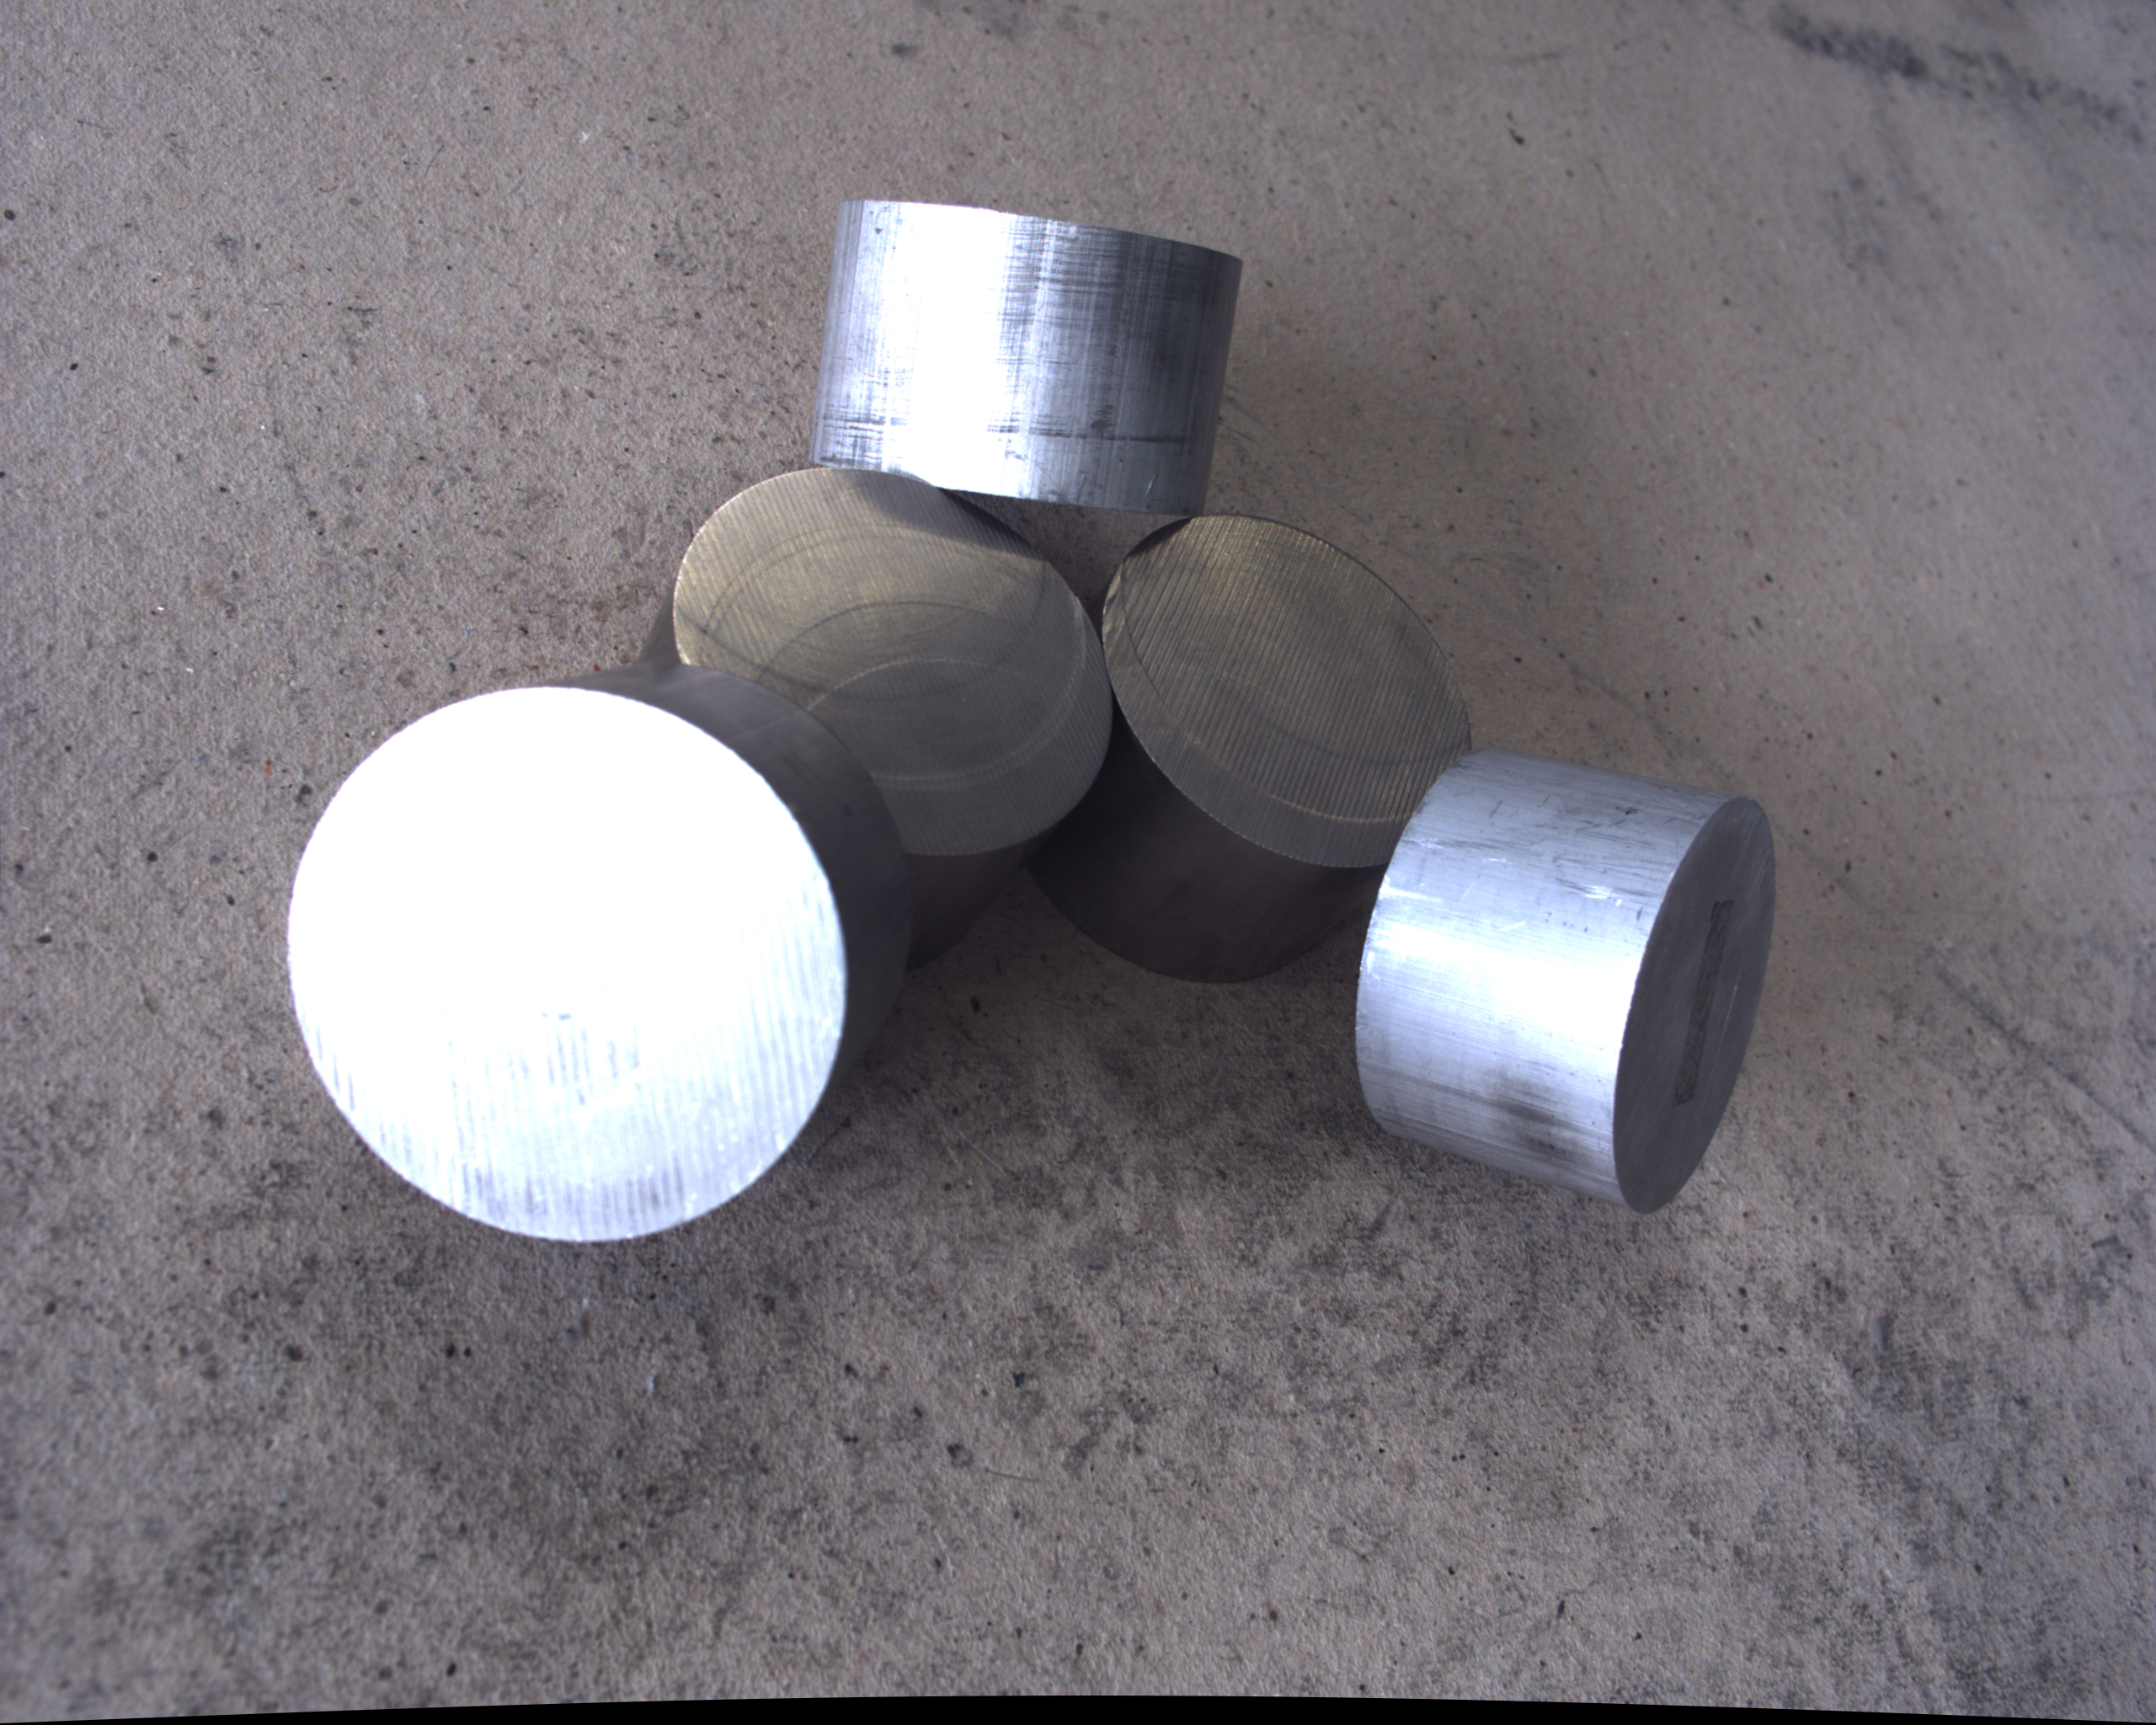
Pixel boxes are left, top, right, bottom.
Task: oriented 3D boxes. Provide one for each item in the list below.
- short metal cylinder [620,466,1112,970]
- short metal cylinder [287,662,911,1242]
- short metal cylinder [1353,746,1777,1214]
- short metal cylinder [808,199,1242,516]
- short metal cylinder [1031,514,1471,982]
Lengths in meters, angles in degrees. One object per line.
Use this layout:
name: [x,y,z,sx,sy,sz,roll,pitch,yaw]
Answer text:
short metal cylinder: [-0.041,-0.025,0.382,0.081,0.050,0.080,14,56,-21]
short metal cylinder: [-0.070,0.011,0.317,0.080,0.080,0.050,40,11,-2]
short metal cylinder: [0.095,0.021,0.400,0.050,0.080,0.080,15,41,33]
short metal cylinder: [-0.011,-0.100,0.417,0.081,0.080,0.050,2,104,-28]
short metal cylinder: [0.031,-0.023,0.419,0.081,0.050,0.080,14,56,-21]
